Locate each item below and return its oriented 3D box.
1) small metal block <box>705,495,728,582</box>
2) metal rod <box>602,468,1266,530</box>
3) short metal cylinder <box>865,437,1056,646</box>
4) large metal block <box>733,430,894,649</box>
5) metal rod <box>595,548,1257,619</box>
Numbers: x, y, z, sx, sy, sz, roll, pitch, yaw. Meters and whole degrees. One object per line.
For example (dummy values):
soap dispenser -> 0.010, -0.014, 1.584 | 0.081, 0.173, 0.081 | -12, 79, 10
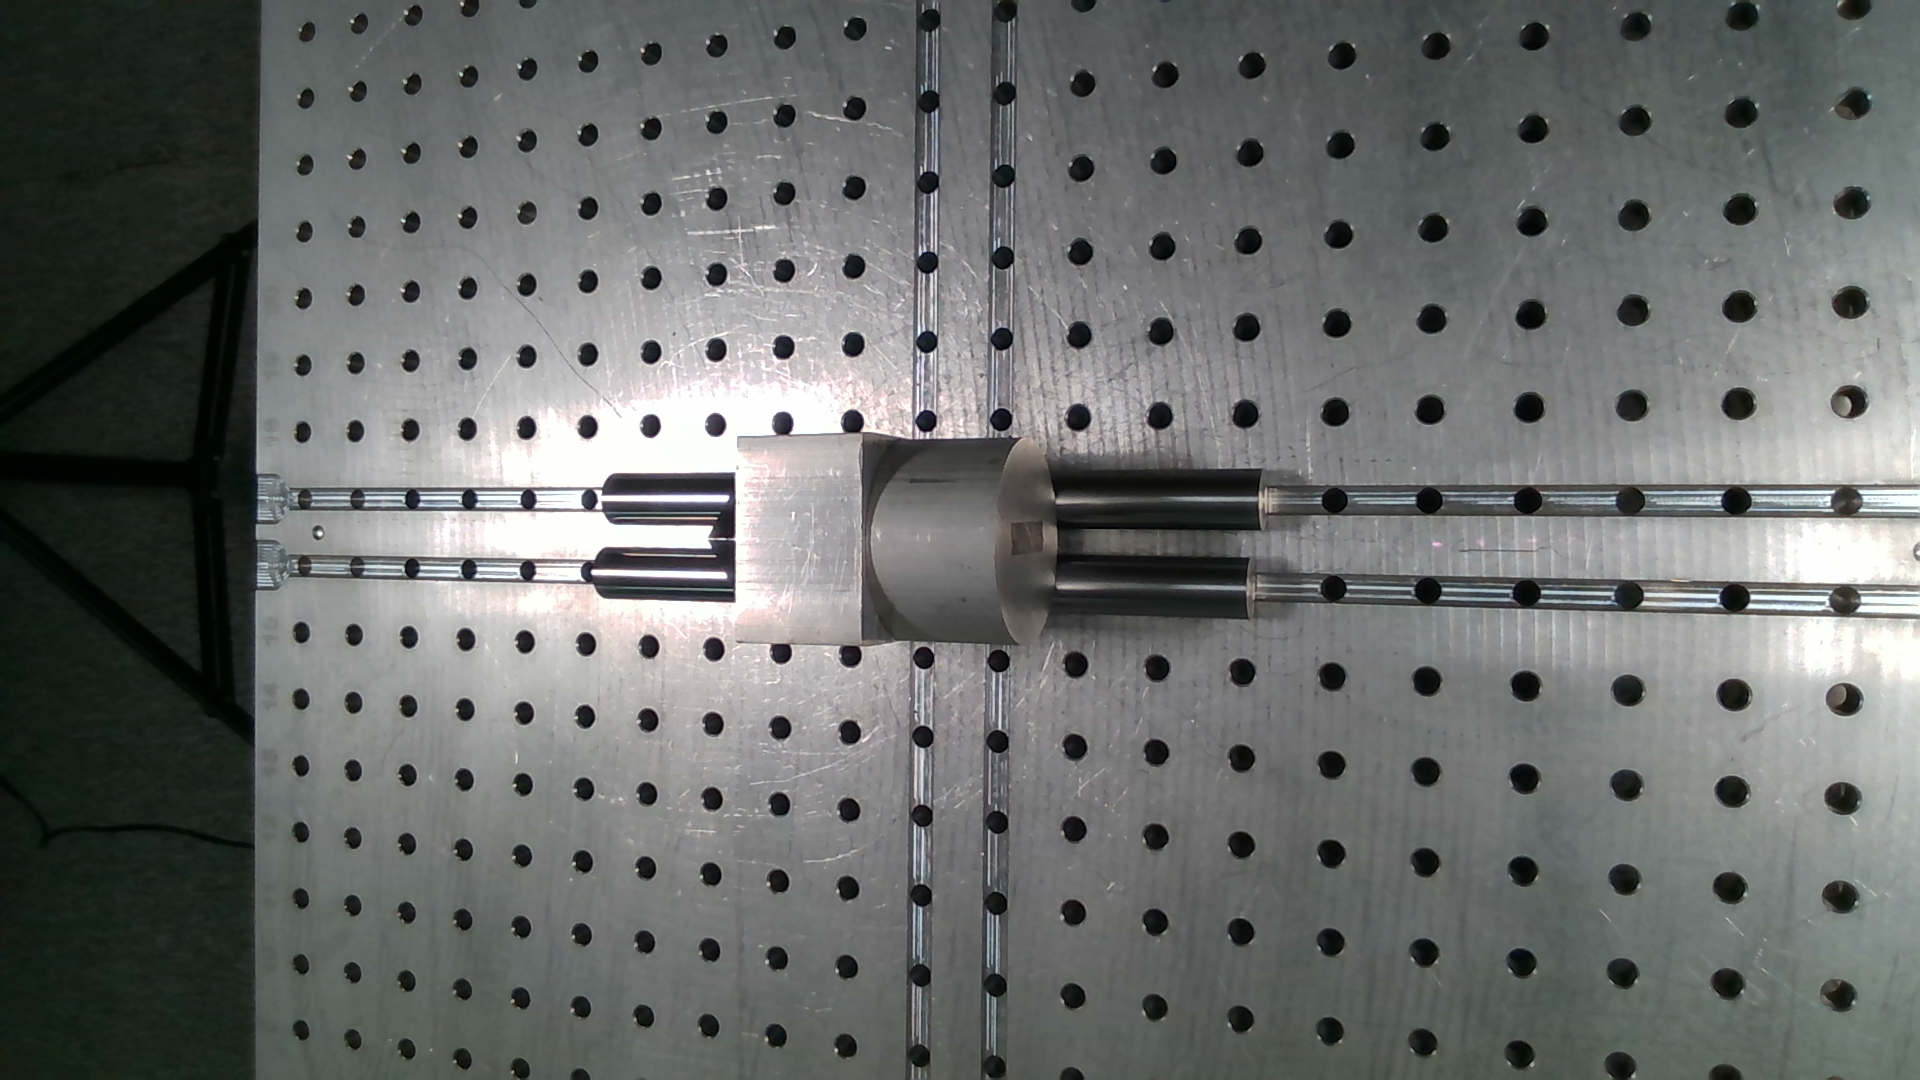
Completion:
small metal block -> -0.078, -0.001, 0.579 | 0.025, 0.050, 0.050 | 1, 135, 20
metal rod -> -0.021, -0.018, 0.597 | 0.300, 0.025, 0.025 | 1, 91, 20
short metal cylinder -> 0.002, 0.000, 0.535 | 0.050, 0.080, 0.080 | 1, 91, 20
large metal block -> -0.048, 0.000, 0.550 | 0.050, 0.080, 0.080 | 0, 90, 20
metal rod -> -0.025, 0.017, 0.599 | 0.300, 0.025, 0.025 | 1, 91, 20
